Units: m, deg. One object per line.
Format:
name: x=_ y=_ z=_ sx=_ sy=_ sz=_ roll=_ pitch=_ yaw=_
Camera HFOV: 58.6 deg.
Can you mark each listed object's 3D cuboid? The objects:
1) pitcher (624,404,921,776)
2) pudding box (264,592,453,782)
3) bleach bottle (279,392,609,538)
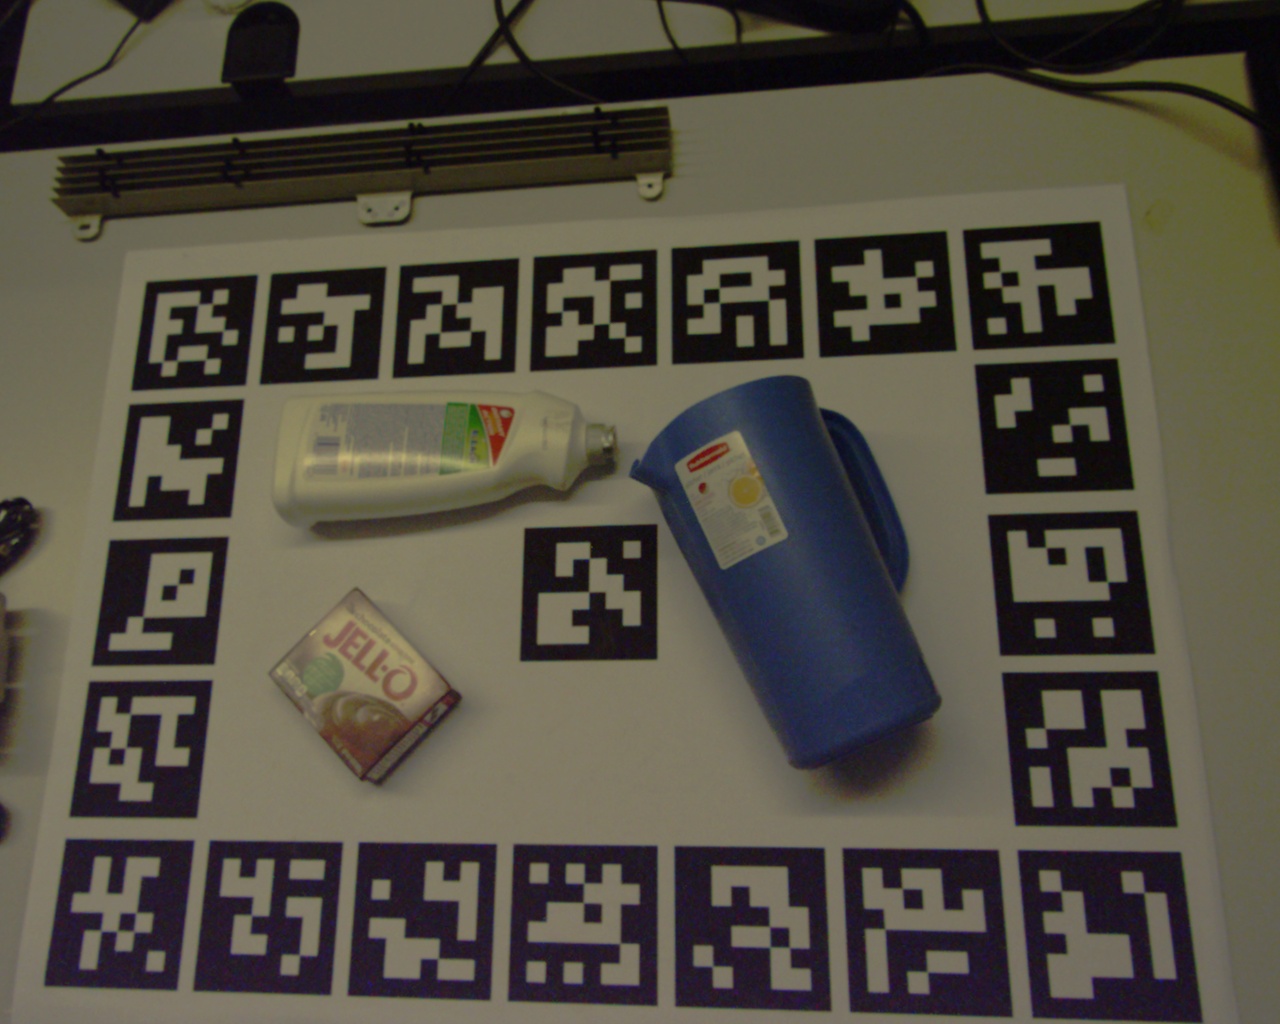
pitcher: x=0.106 y=0.054 z=0.809 sx=0.186 sy=0.134 sz=0.243 roll=-16 pitch=75 yaw=-33
pudding box: x=-0.210 y=0.132 z=0.856 sx=0.090 sy=0.038 sz=0.114 roll=-42 pitch=74 yaw=-11
bleach bottle: x=-0.150 y=-0.039 z=0.889 sx=0.251 sy=0.067 sz=0.103 roll=-4 pitch=78 yaw=5
